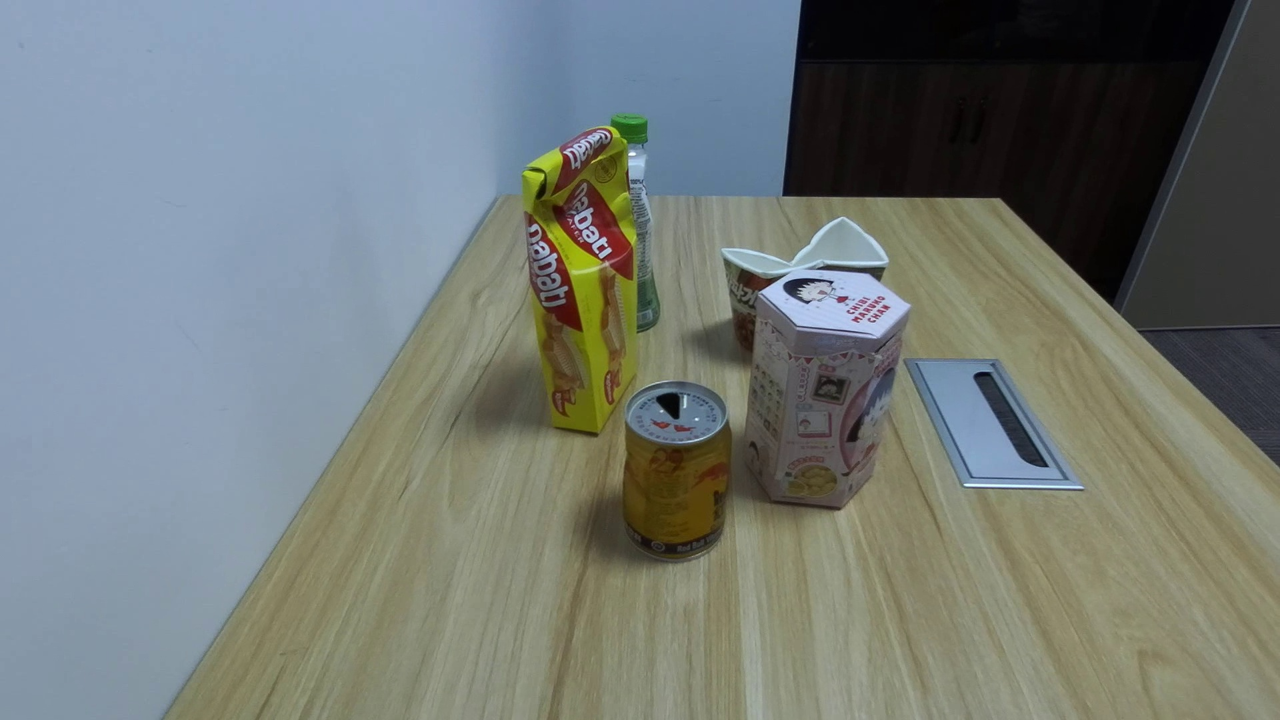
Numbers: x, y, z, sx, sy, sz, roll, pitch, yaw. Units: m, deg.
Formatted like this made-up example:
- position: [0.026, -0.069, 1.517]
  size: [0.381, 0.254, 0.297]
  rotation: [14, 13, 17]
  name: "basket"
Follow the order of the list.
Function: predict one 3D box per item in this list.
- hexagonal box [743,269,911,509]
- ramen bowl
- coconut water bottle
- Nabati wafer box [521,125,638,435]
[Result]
- position: [0.118, 0.019, 0.457]
  size: [0.083, 0.136, 0.091]
  rotation: [24, 41, 33]
  name: "hexagonal box"
- position: [0.134, -0.060, 0.616]
  size: [0.128, 0.093, 0.111]
  rotation: [-6, 34, -9]
  name: "ramen bowl"
- position: [-0.011, -0.121, 0.629]
  size: [0.069, 0.187, 0.069]
  rotation: [0, 30, 1]
  name: "coconut water bottle"
- position: [-0.037, -0.053, 0.513]
  size: [0.042, 0.205, 0.113]
  rotation: [10, 35, 19]
  name: "Nabati wafer box"
